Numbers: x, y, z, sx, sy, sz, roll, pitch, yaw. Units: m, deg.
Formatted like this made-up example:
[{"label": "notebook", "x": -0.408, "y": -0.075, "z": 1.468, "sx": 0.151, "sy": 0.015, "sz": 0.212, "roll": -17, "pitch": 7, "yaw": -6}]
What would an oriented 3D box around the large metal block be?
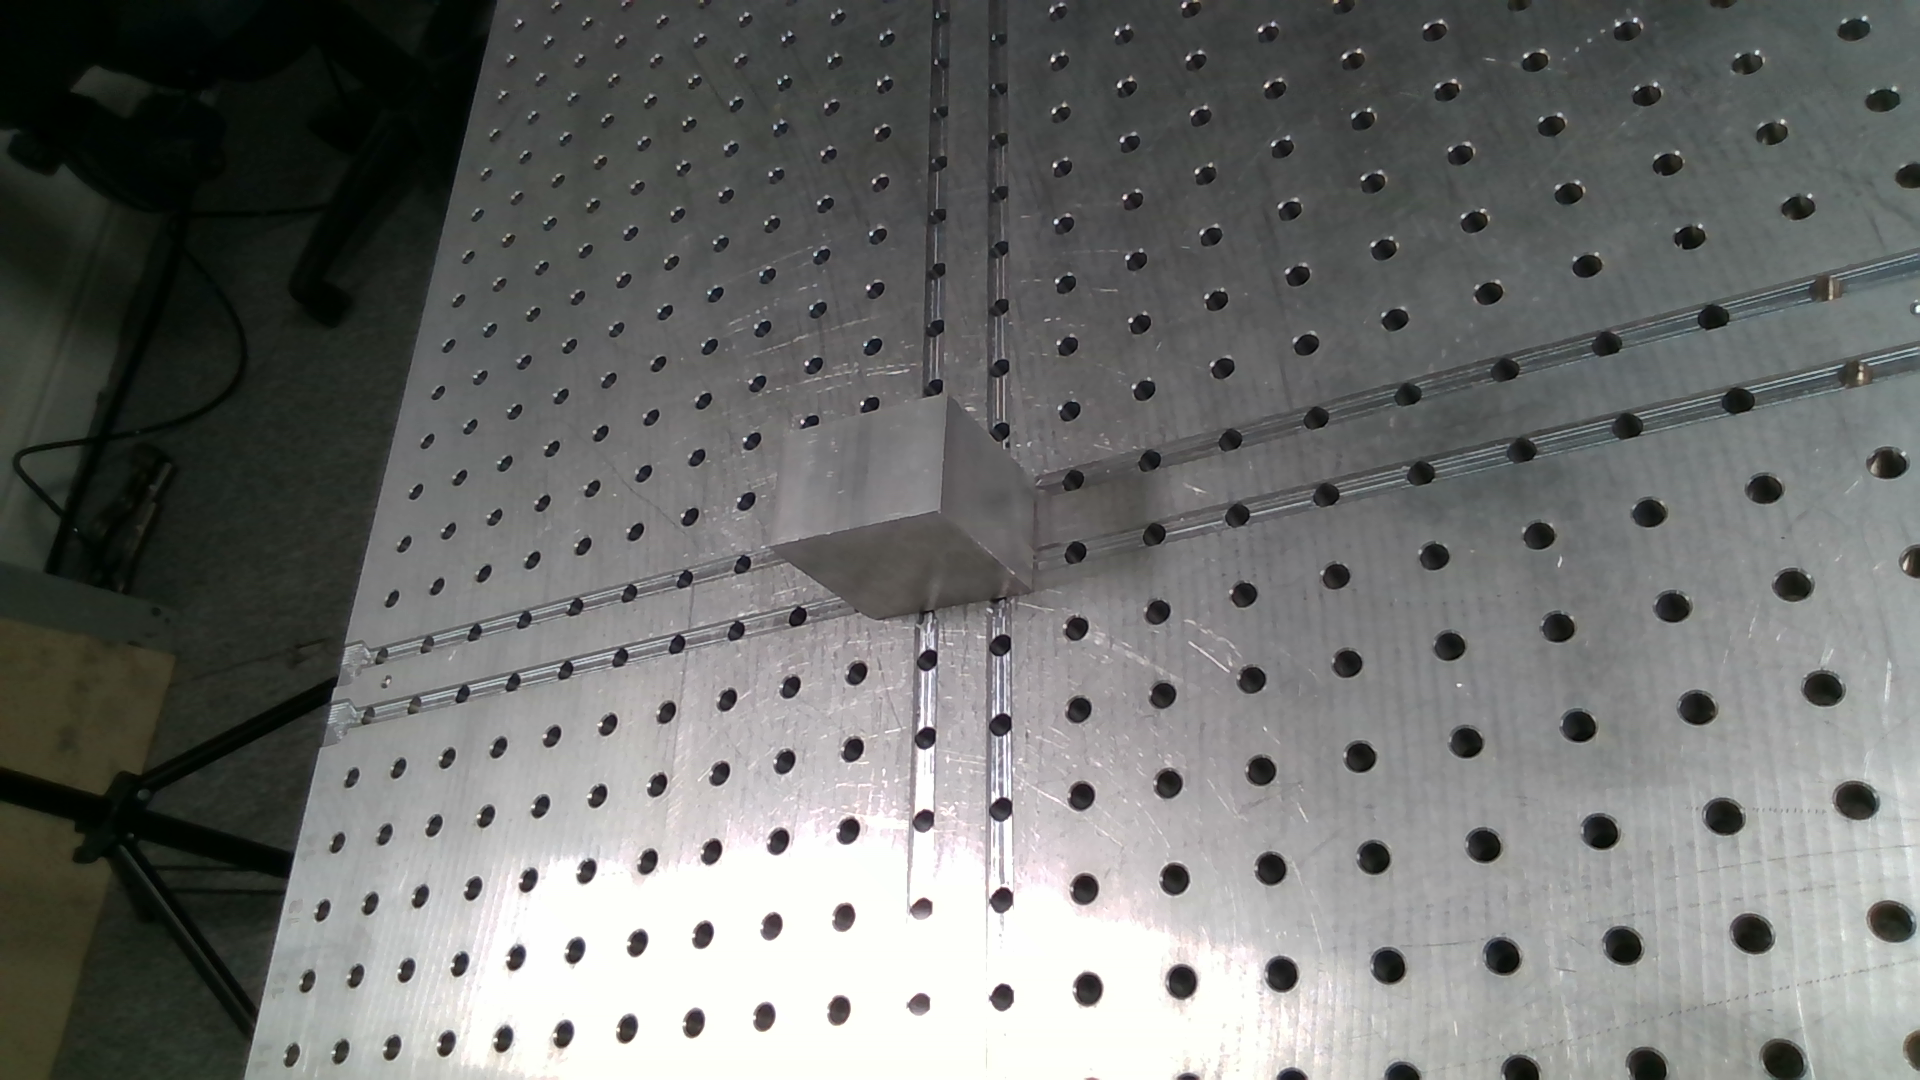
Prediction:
[{"label": "large metal block", "x": -0.023, "y": -0.011, "z": 0.572, "sx": 0.080, "sy": 0.080, "sz": 0.050, "roll": -11, "pitch": 60, "yaw": 27}]
